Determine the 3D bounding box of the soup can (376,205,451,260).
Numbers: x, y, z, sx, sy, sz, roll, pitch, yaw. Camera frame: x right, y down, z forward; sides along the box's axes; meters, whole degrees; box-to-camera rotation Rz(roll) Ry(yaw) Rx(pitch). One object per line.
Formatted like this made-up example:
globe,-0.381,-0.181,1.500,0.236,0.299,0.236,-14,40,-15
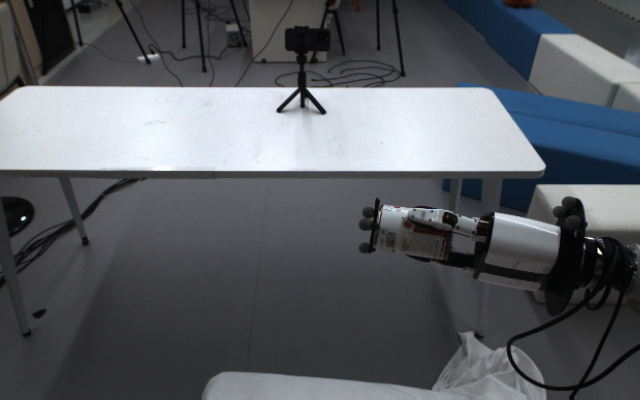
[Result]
soup can,0.134,0.044,0.686,0.101,0.067,0.067,8,35,9
